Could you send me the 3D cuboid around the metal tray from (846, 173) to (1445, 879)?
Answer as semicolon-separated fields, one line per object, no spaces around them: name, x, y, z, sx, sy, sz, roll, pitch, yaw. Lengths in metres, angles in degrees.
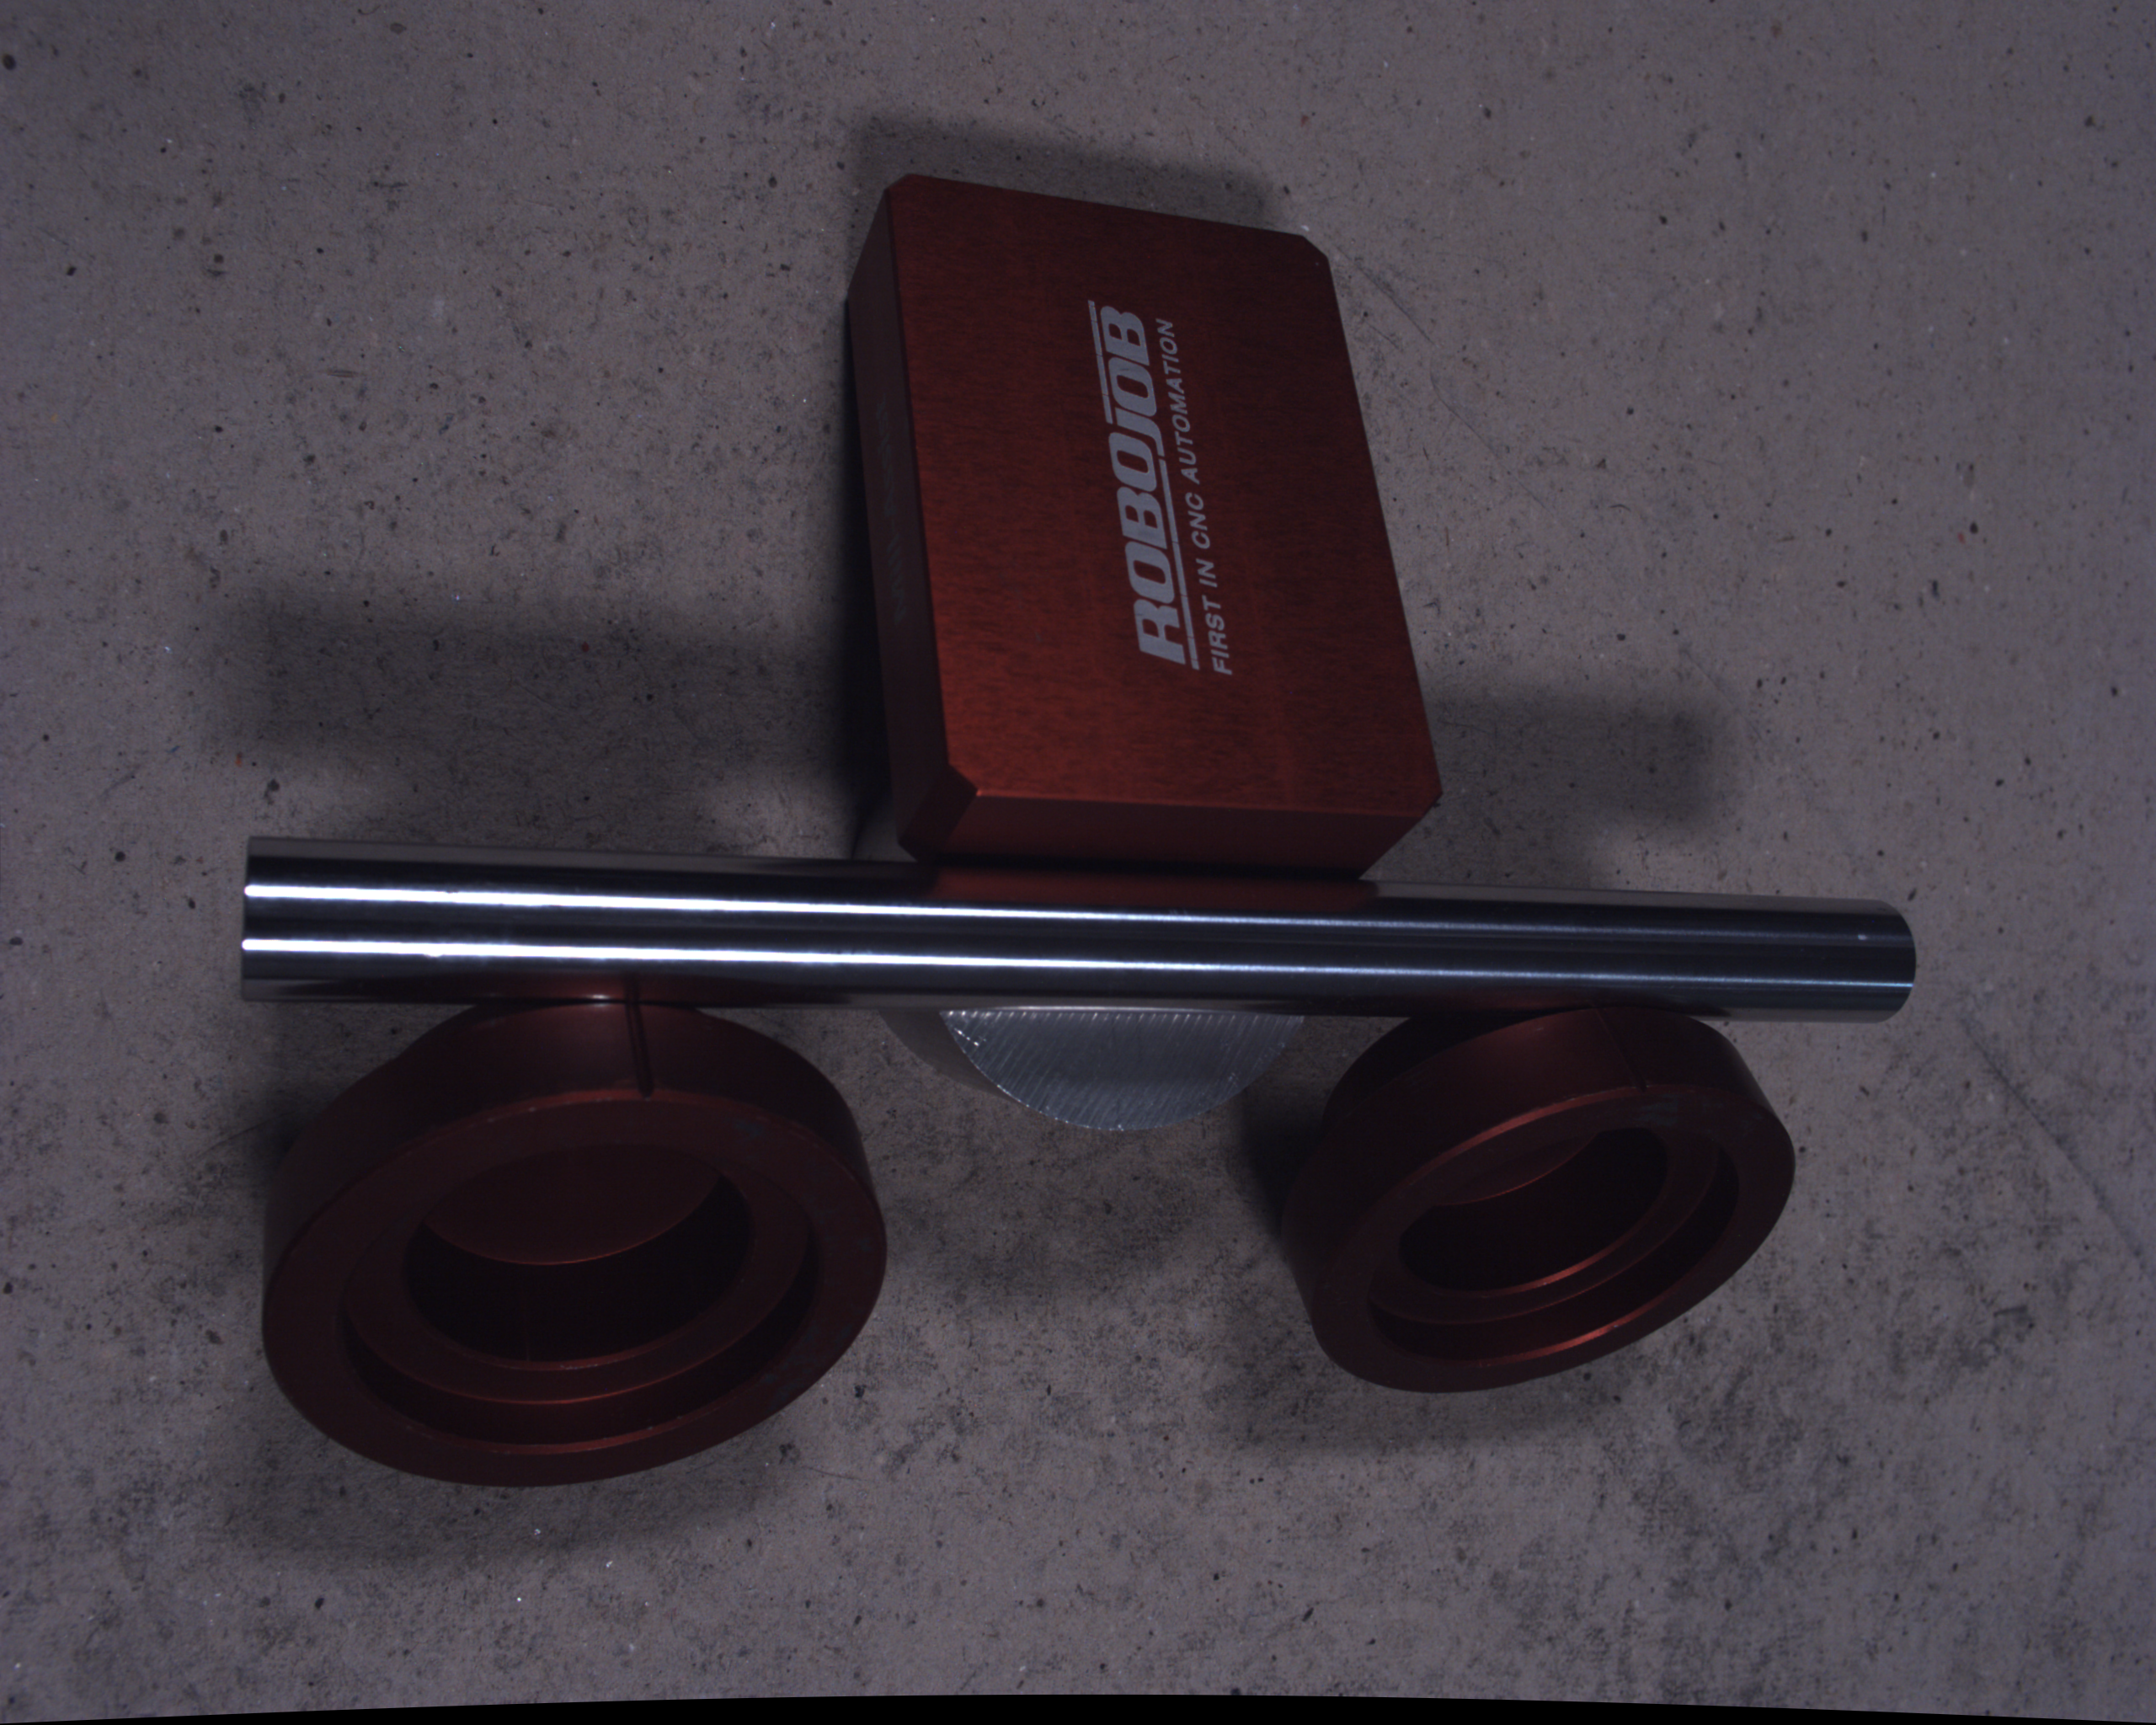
metal tray;0.009;-0.062;0.383;0.091;0.030;0.130;2;63;-20

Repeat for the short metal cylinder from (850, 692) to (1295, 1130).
short metal cylinder;0.001;0.008;0.399;0.081;0.050;0.079;0;90;-21

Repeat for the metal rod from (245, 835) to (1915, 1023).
metal rod;0.017;0.014;0.365;0.303;0.025;0.025;2;89;-21

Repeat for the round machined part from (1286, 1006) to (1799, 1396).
round machined part;0.088;0.061;0.417;0.099;0.042;0.097;-10;136;-10

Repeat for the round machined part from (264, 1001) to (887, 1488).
round machined part;-0.085;0.059;0.353;0.099;0.042;0.097;-11;132;-12
